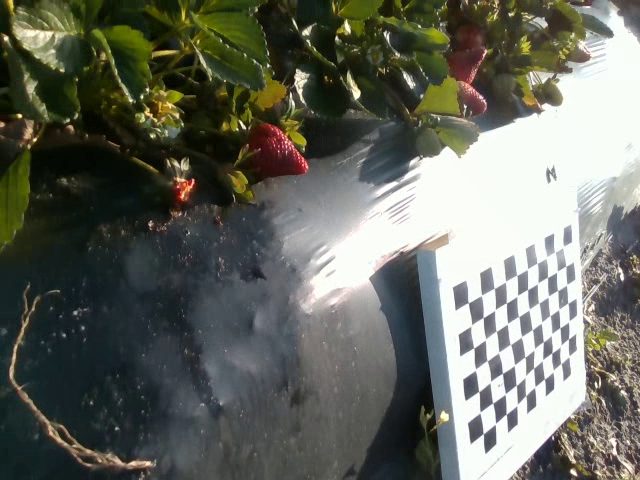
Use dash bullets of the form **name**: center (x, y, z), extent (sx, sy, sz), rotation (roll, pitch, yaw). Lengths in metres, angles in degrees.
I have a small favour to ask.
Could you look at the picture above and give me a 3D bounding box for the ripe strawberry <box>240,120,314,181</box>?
- **ripe strawberry**: center (-0.030, -0.064, 0.465), extent (0.051, 0.052, 0.041), rotation (25, -31, 19)
